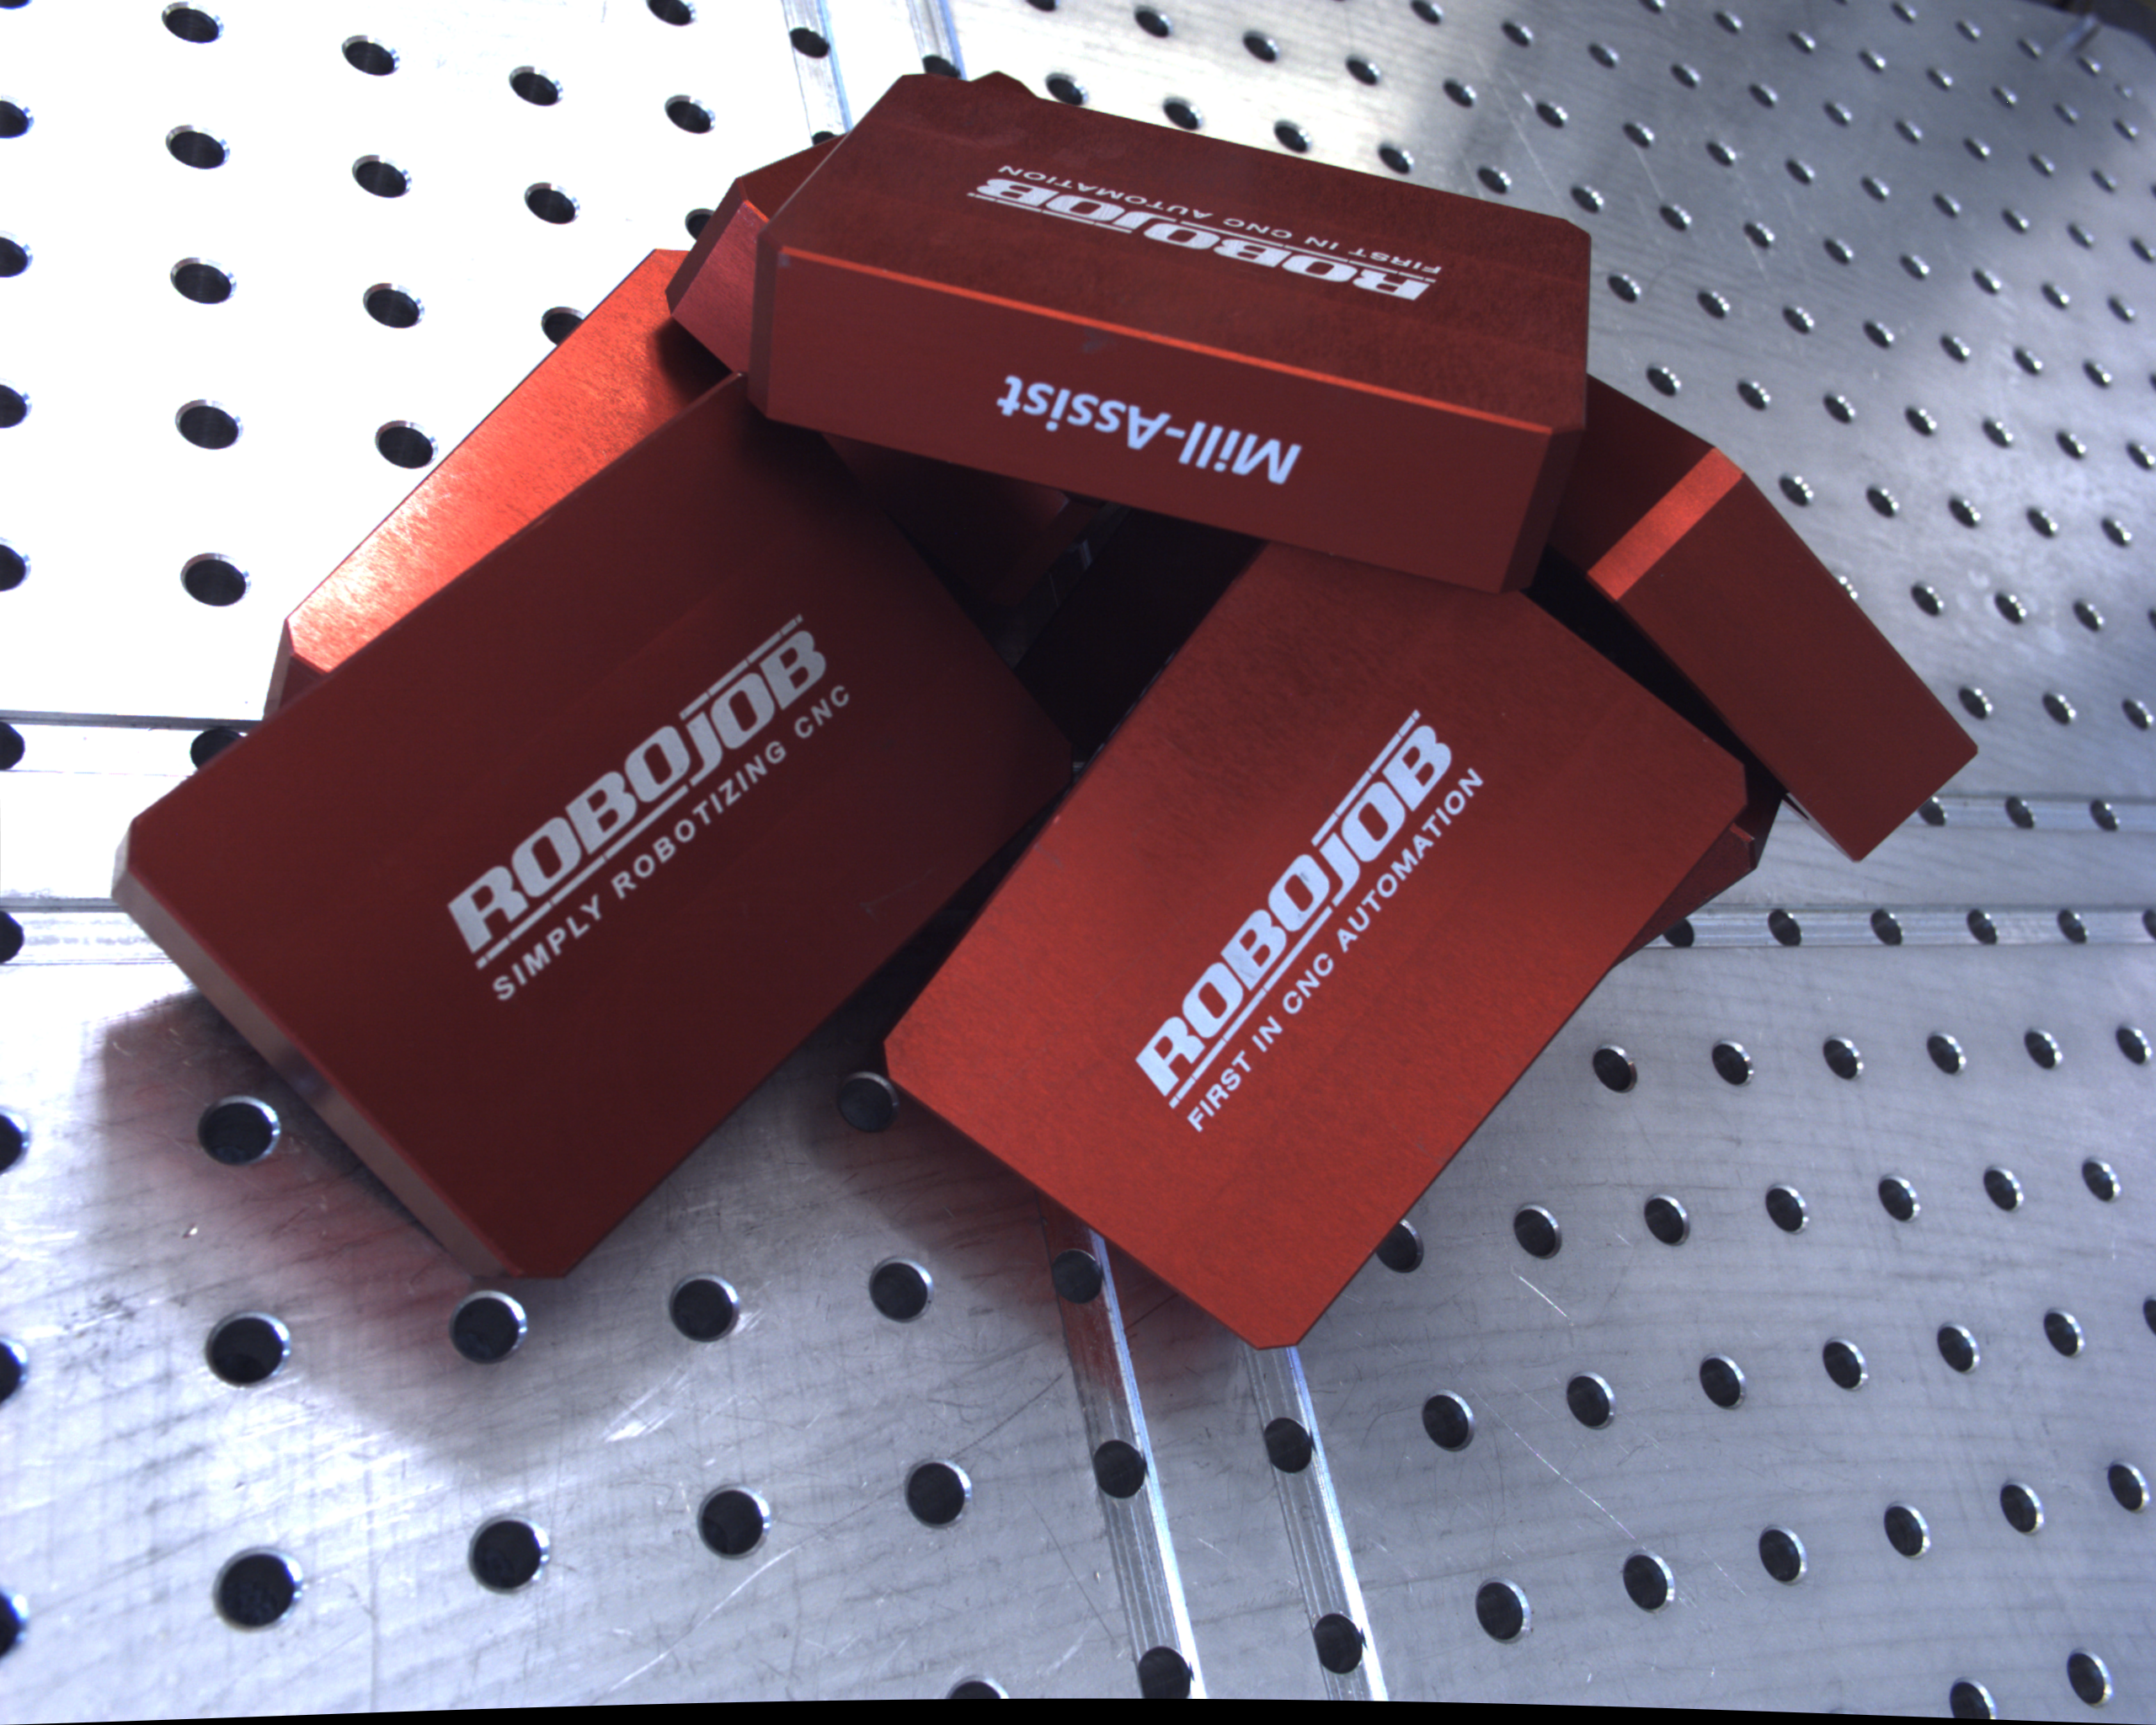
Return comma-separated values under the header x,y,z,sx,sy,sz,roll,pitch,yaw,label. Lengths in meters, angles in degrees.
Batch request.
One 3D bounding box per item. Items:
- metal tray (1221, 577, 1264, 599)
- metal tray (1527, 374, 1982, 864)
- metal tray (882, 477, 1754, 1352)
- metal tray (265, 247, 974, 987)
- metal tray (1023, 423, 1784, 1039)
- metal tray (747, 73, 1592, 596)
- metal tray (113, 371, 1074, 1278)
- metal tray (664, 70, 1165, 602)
x,y,z,sx,sy,sz,roll,pitch,yaw,label
0.082,-0.073,0.465,0.131,0.030,0.090,23,50,-39,metal tray
0.113,-0.062,0.422,0.090,0.030,0.130,39,12,-29,metal tray
0.040,0.008,0.364,0.090,0.130,0.030,38,9,-4,metal tray
-0.075,-0.050,0.394,0.090,0.030,0.130,34,51,-6,metal tray
0.063,-0.028,0.417,0.130,0.090,0.030,38,52,-2,metal tray
0.019,-0.095,0.360,0.131,0.030,0.090,14,39,4,metal tray
-0.073,-0.008,0.341,0.131,0.030,0.090,-45,104,-28,metal tray
-0.015,-0.117,0.443,0.090,0.030,0.131,41,37,-2,metal tray
